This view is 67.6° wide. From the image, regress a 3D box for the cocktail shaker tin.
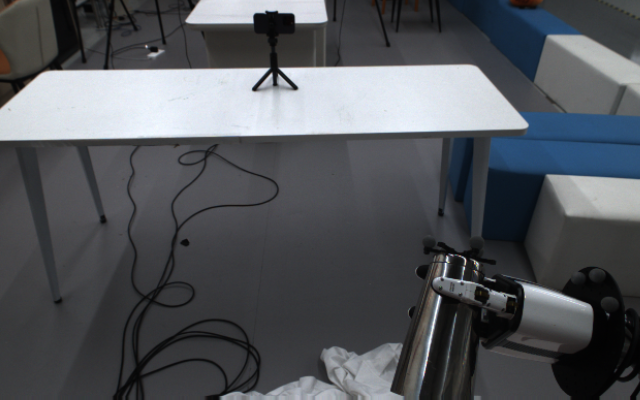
[{"bbox_3d":[0.151,0.153,0.581,0.093,0.093,0.170,12,72,14],"label":"cocktail shaker tin"}]
